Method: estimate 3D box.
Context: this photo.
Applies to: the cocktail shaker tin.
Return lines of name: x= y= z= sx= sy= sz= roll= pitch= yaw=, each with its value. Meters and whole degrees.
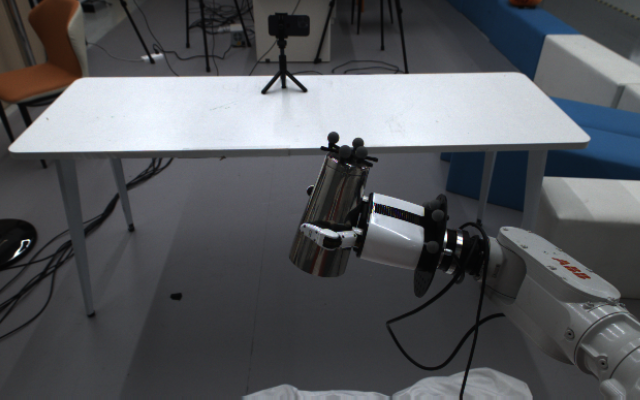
cocktail shaker tin: x=0.019 y=0.018 z=0.724 sx=0.093 sy=0.170 sz=0.093 roll=15 pitch=20 yaw=-5
